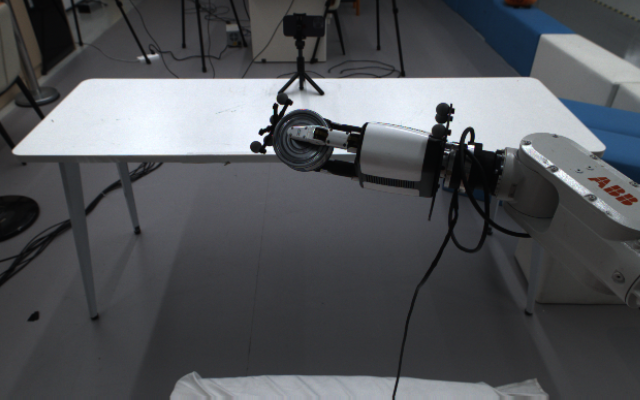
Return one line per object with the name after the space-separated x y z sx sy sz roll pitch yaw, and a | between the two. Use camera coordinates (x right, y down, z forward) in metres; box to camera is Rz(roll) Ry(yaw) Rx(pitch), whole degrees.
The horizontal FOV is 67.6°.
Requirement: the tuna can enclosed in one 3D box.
-0.021 -0.082 0.688 0.085 0.085 0.034 9 -4 10 | tuna can
